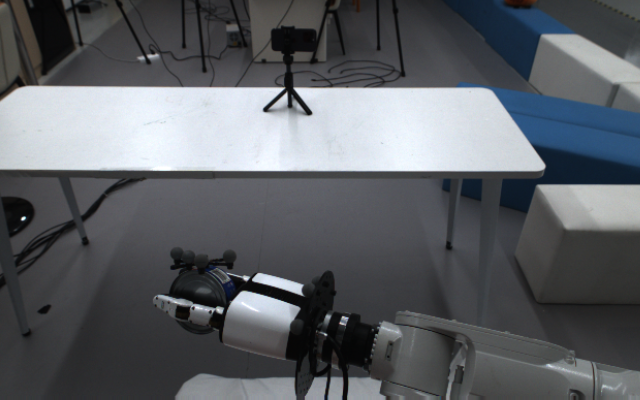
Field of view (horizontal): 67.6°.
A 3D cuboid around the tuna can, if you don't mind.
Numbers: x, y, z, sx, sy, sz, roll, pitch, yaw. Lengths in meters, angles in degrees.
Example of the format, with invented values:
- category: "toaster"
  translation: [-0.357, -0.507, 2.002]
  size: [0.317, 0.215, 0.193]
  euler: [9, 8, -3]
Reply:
- category: "tuna can"
  translation: [-0.151, 0.131, 0.636]
  size: [0.085, 0.085, 0.034]
  euler: [15, 9, 18]
